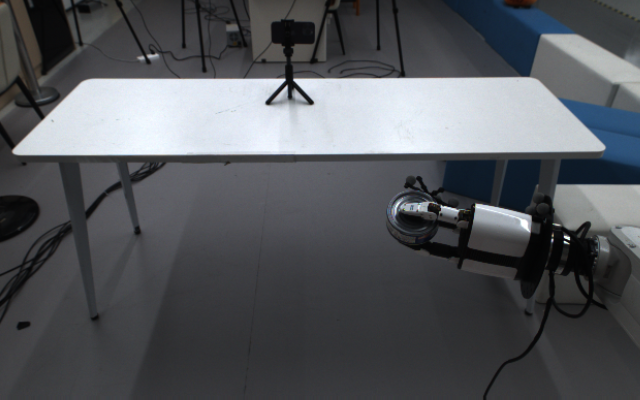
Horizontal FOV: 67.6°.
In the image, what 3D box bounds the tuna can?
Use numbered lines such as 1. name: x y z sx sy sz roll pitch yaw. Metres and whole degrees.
1. tuna can: 0.153 0.033 0.774 0.085 0.034 0.085 -4 58 6
